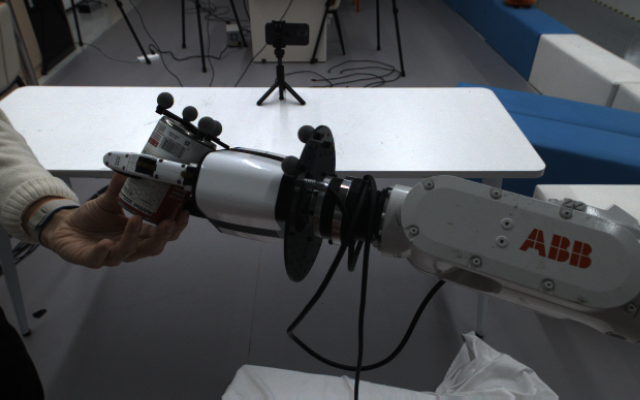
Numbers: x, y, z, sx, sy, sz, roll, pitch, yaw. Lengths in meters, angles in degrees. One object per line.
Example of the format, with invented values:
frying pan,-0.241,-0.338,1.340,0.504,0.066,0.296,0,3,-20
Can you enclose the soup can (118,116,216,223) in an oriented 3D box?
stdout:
soup can,-0.164,-0.029,0.525,0.067,0.101,0.067,30,2,-1
